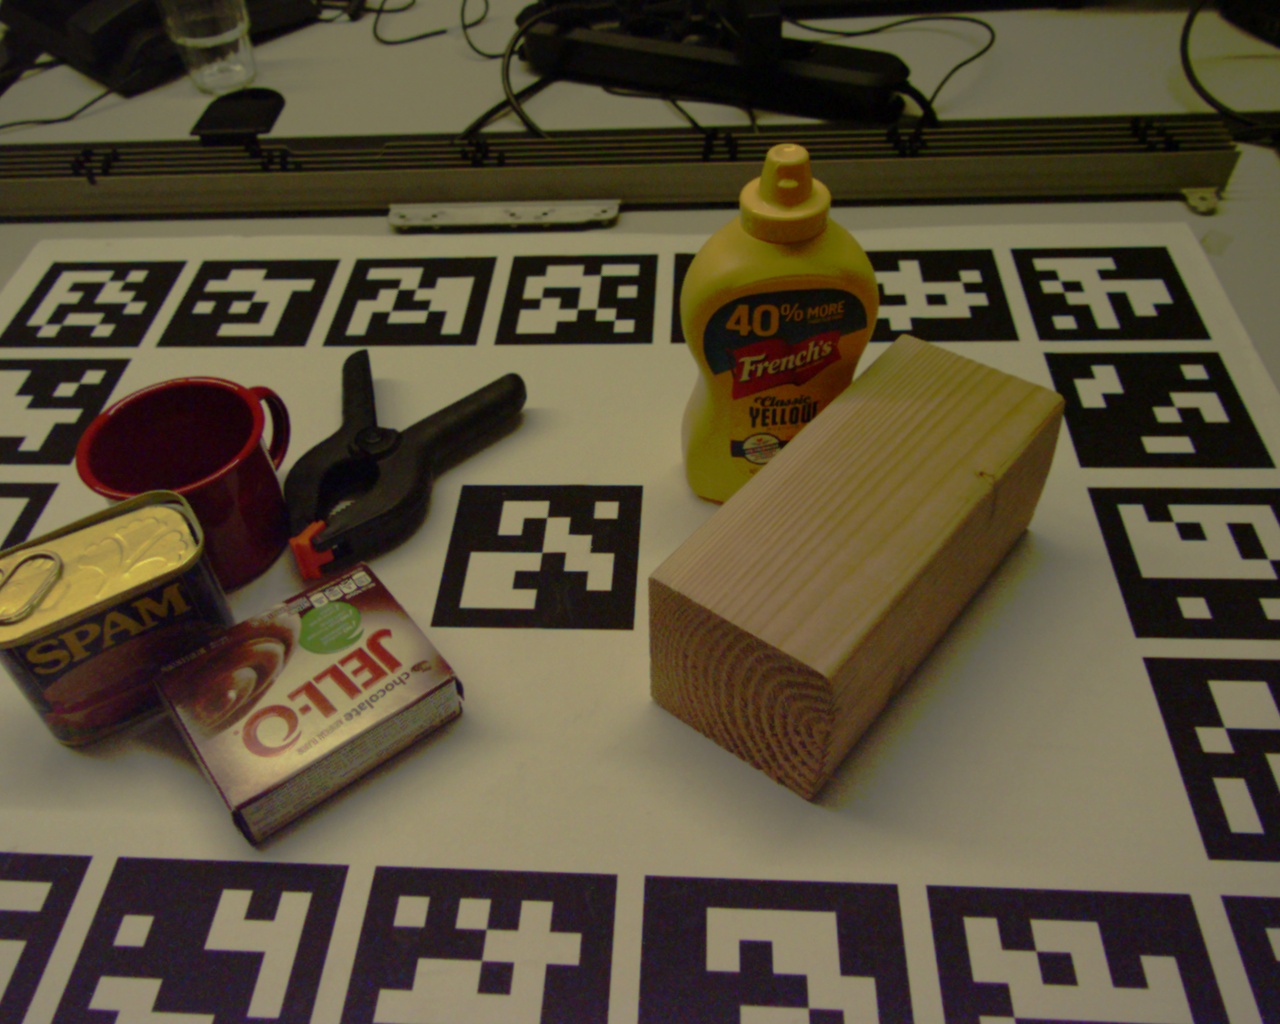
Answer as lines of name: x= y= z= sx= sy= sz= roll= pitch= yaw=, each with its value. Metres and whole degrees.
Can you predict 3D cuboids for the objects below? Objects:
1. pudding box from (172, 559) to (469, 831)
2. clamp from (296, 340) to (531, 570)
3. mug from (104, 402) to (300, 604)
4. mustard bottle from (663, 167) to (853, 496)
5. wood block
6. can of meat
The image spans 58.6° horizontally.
pudding box: x=-0.153 y=0.085 z=0.552 sx=0.113 sy=0.038 sz=0.091 roll=-30 pitch=52 yaw=-24
clamp: x=-0.150 y=-0.035 z=0.672 sx=0.123 sy=0.036 sz=0.164 roll=15 pitch=52 yaw=16
mug: x=-0.234 y=-0.009 z=0.648 sx=0.094 sy=0.081 sz=0.116 roll=17 pitch=52 yaw=19
mustard bottle: x=0.061 y=-0.091 z=0.596 sx=0.096 sy=0.190 sz=0.059 roll=-3 pitch=47 yaw=1
wood block: x=0.100 y=0.022 z=0.561 sx=0.091 sy=0.090 sz=0.204 roll=29 pitch=53 yaw=29
can of meat: x=-0.251 y=0.050 z=0.555 sx=0.101 sy=0.083 sz=0.058 roll=-23 pitch=51 yaw=-17
